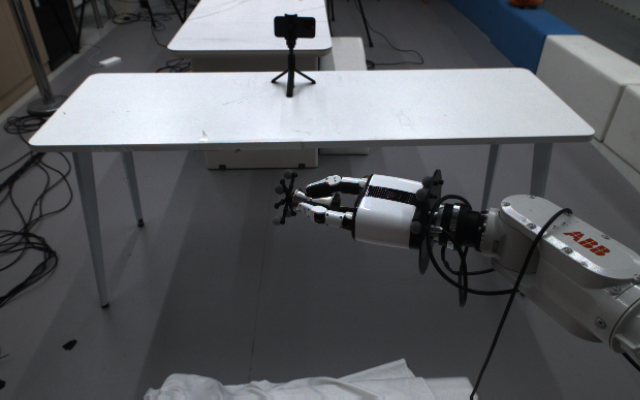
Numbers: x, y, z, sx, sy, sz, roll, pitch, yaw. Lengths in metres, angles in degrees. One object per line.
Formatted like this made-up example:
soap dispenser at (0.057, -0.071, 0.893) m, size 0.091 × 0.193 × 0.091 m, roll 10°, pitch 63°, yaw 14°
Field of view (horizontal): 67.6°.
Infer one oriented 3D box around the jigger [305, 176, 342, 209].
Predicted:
jigger at (-0.001, 0.002, 0.786) m, size 0.071 × 0.043 × 0.043 m, roll 10°, pitch 35°, yaw 22°
